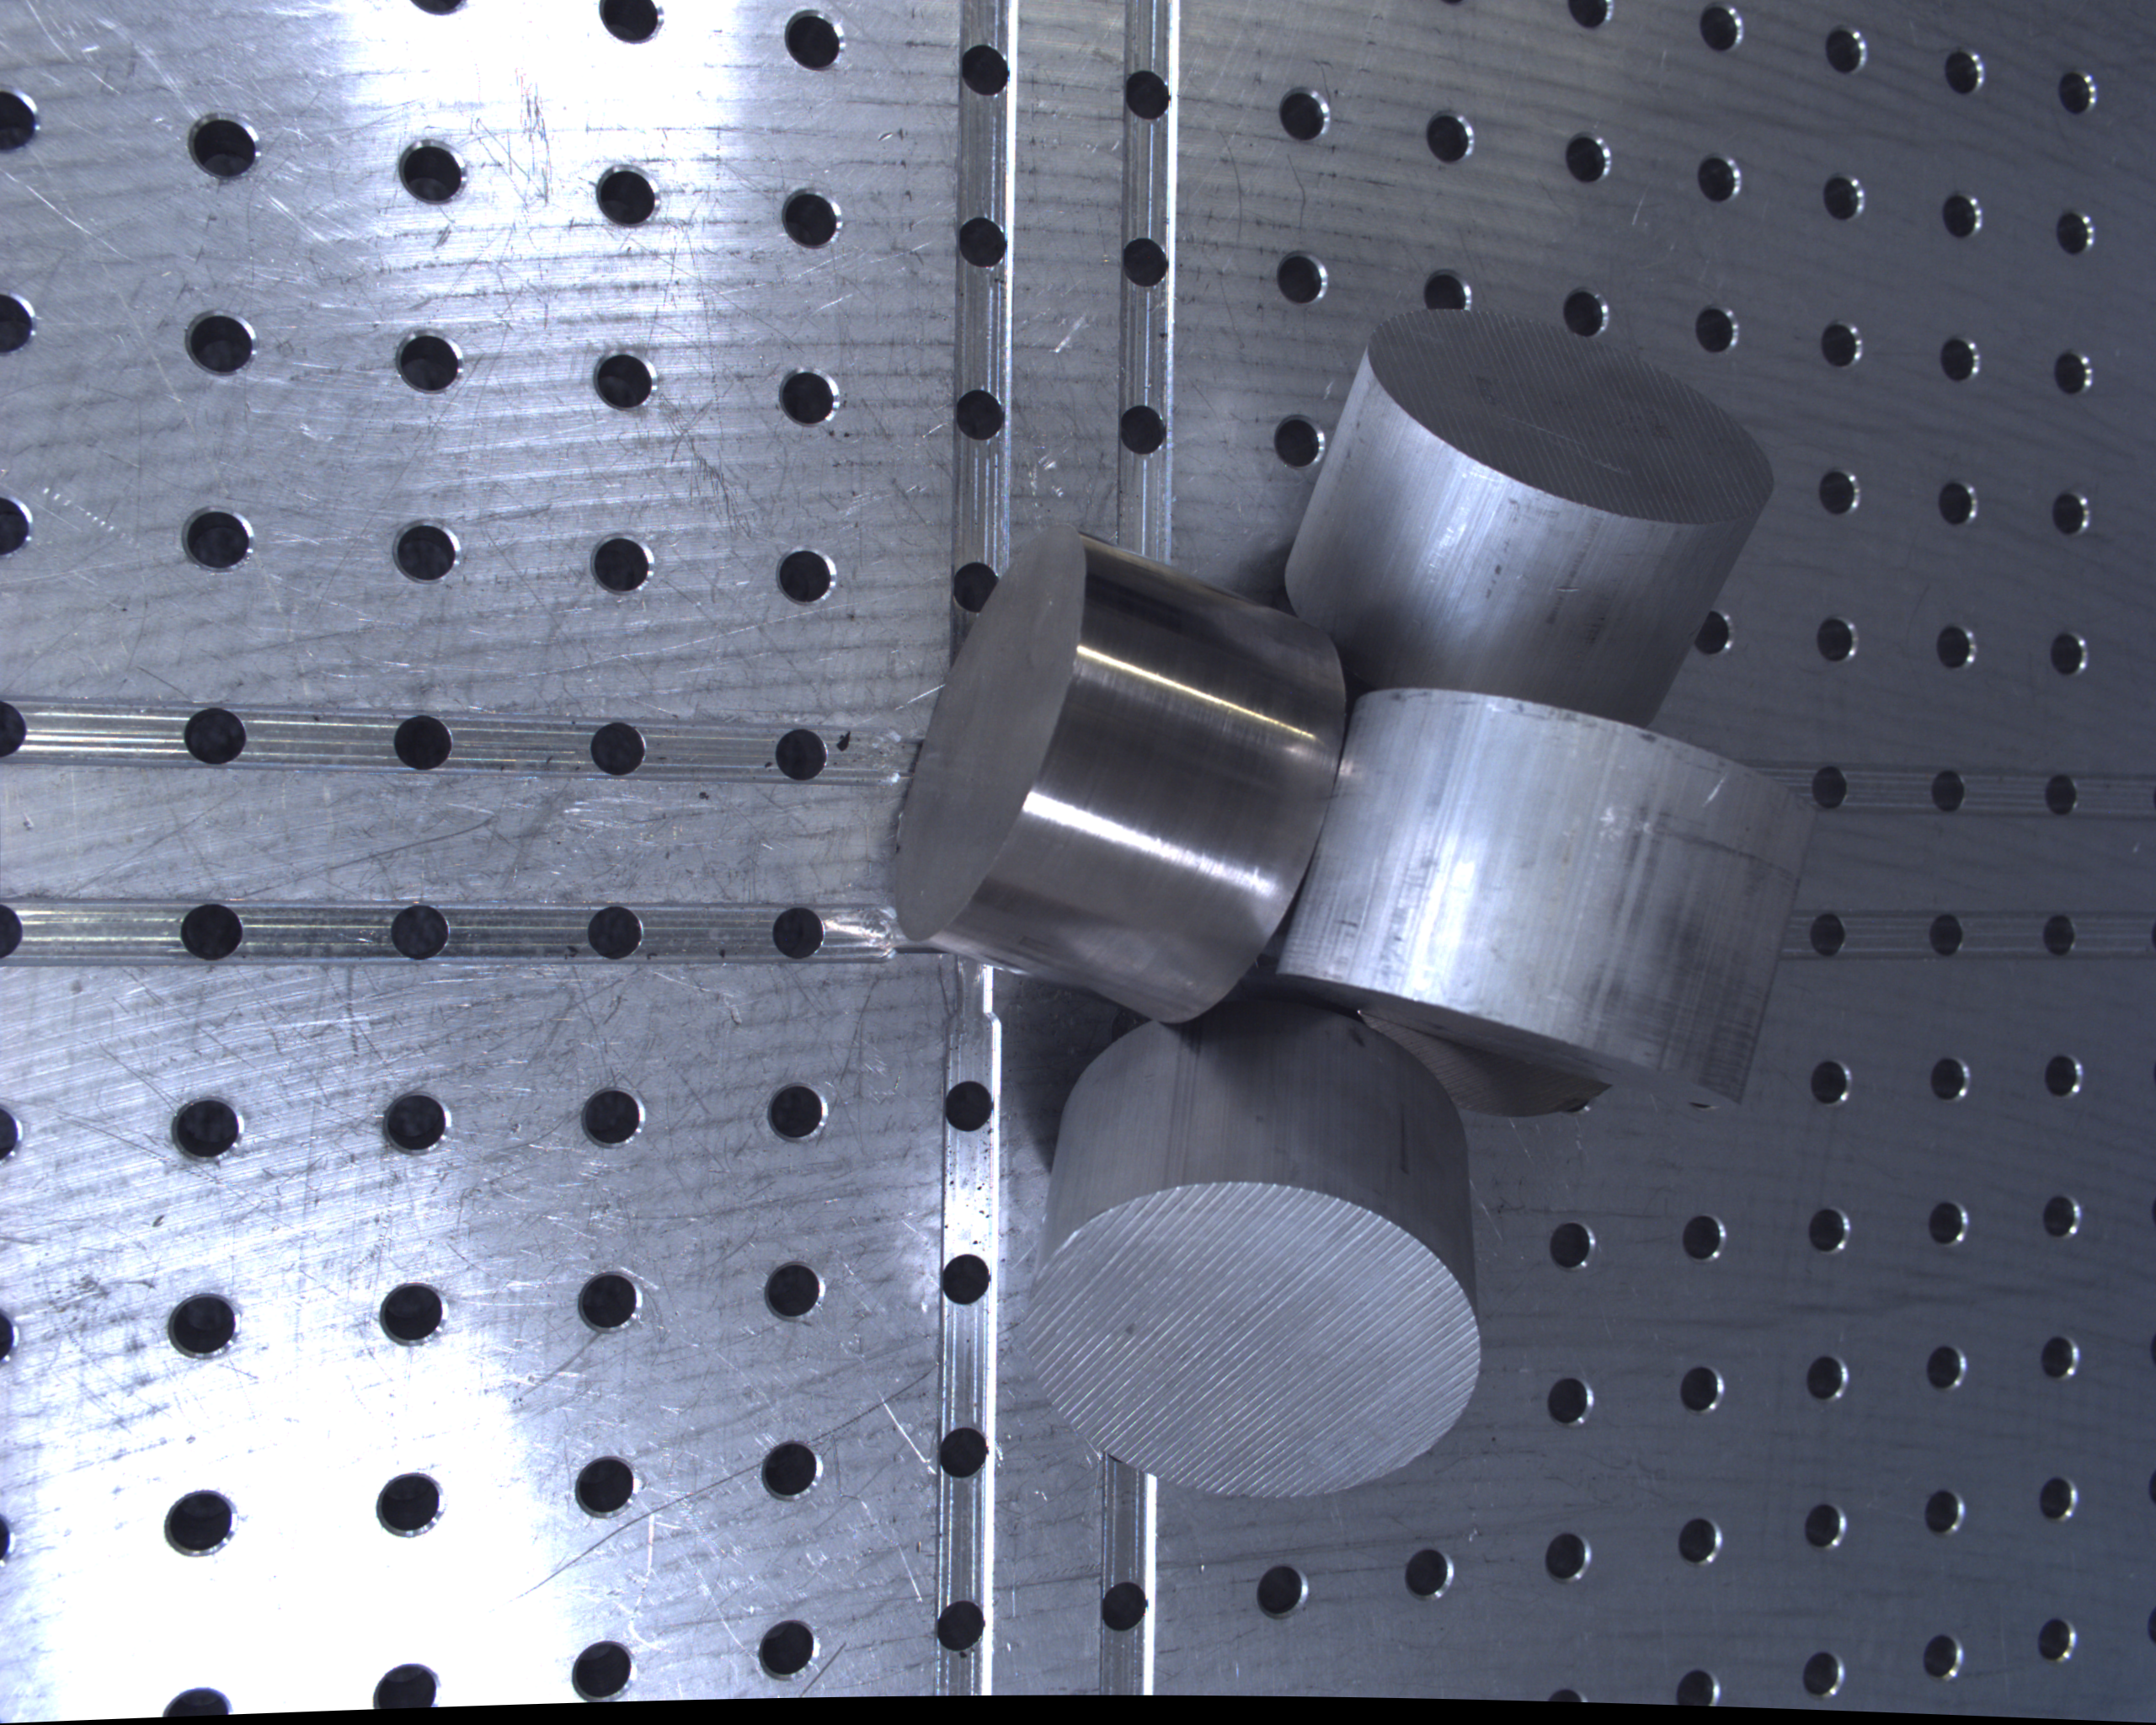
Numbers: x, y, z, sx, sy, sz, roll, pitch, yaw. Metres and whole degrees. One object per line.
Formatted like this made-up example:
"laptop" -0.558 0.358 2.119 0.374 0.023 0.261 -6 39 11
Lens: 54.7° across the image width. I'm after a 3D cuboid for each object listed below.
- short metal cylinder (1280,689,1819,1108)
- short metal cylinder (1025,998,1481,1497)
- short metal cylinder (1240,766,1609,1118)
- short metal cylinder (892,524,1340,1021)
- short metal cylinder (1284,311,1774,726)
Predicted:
"short metal cylinder" 0.080 0.007 0.359 0.081 0.080 0.050 18 84 -19
"short metal cylinder" 0.033 0.072 0.389 0.080 0.050 0.079 3 124 5
"short metal cylinder" 0.078 0.010 0.427 0.081 0.050 0.080 0 89 -20
"short metal cylinder" 0.005 -0.016 0.385 0.050 0.080 0.080 20 83 -19
"short metal cylinder" 0.086 -0.066 0.407 0.081 0.080 0.050 2 129 -20
